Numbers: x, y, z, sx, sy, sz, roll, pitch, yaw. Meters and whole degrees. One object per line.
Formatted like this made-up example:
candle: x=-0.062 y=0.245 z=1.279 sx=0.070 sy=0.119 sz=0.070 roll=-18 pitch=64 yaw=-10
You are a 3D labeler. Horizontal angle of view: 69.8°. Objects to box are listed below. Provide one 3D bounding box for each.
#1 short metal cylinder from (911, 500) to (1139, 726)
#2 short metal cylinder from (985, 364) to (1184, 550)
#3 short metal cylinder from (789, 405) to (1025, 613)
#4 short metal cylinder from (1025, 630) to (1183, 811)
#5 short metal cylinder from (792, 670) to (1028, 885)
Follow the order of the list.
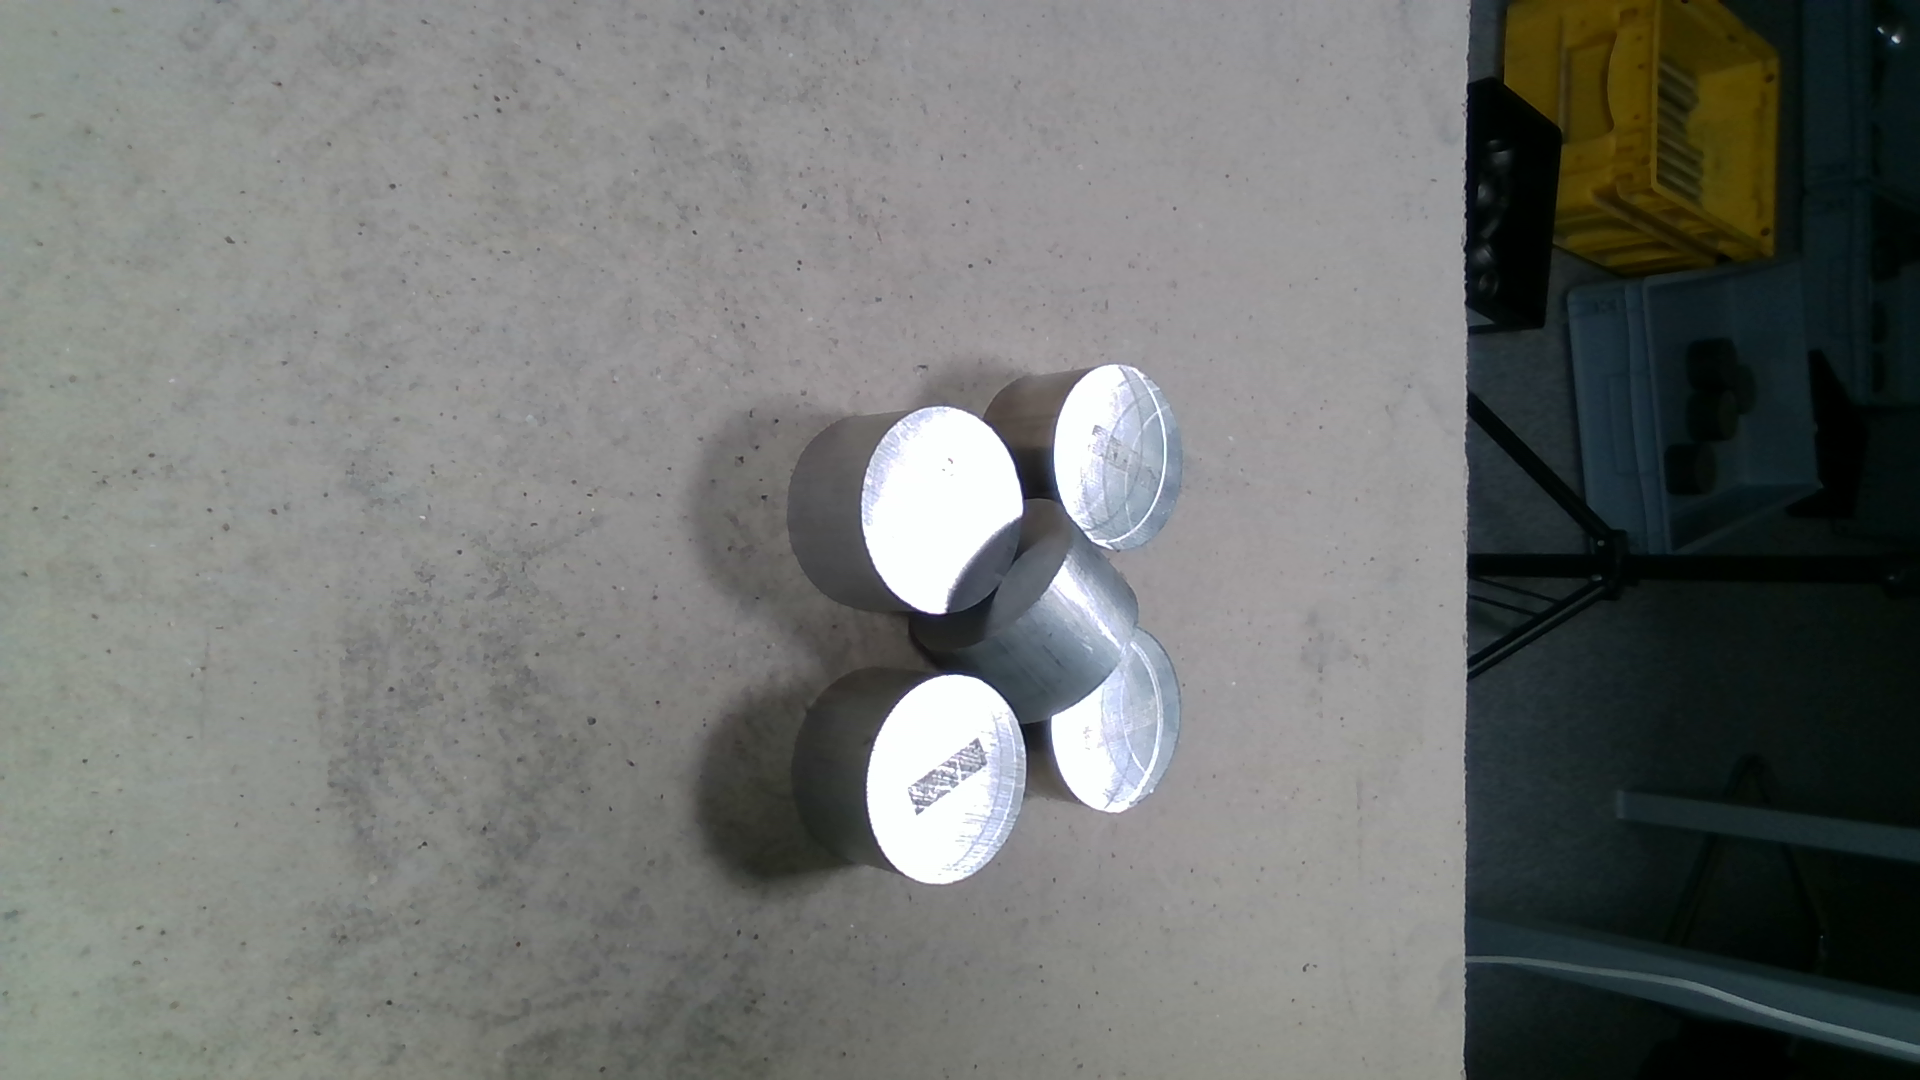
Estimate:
short metal cylinder: x=0.027 y=0.030 z=0.570 sx=0.050 sy=0.080 sz=0.080 roll=47 pitch=62 yaw=-30
short metal cylinder: x=0.054 y=-0.036 z=0.611 sx=0.080 sy=0.050 sz=0.080 roll=0 pitch=90 yaw=-40
short metal cylinder: x=-0.021 y=-0.012 z=0.548 sx=0.080 sy=0.050 sz=0.080 roll=0 pitch=90 yaw=-40
short metal cylinder: x=0.053 y=0.076 z=0.609 sx=0.080 sy=0.050 sz=0.080 roll=0 pitch=90 yaw=-40
short metal cylinder: x=-0.019 y=0.093 z=0.549 sx=0.080 sy=0.050 sz=0.080 roll=0 pitch=90 yaw=-40
